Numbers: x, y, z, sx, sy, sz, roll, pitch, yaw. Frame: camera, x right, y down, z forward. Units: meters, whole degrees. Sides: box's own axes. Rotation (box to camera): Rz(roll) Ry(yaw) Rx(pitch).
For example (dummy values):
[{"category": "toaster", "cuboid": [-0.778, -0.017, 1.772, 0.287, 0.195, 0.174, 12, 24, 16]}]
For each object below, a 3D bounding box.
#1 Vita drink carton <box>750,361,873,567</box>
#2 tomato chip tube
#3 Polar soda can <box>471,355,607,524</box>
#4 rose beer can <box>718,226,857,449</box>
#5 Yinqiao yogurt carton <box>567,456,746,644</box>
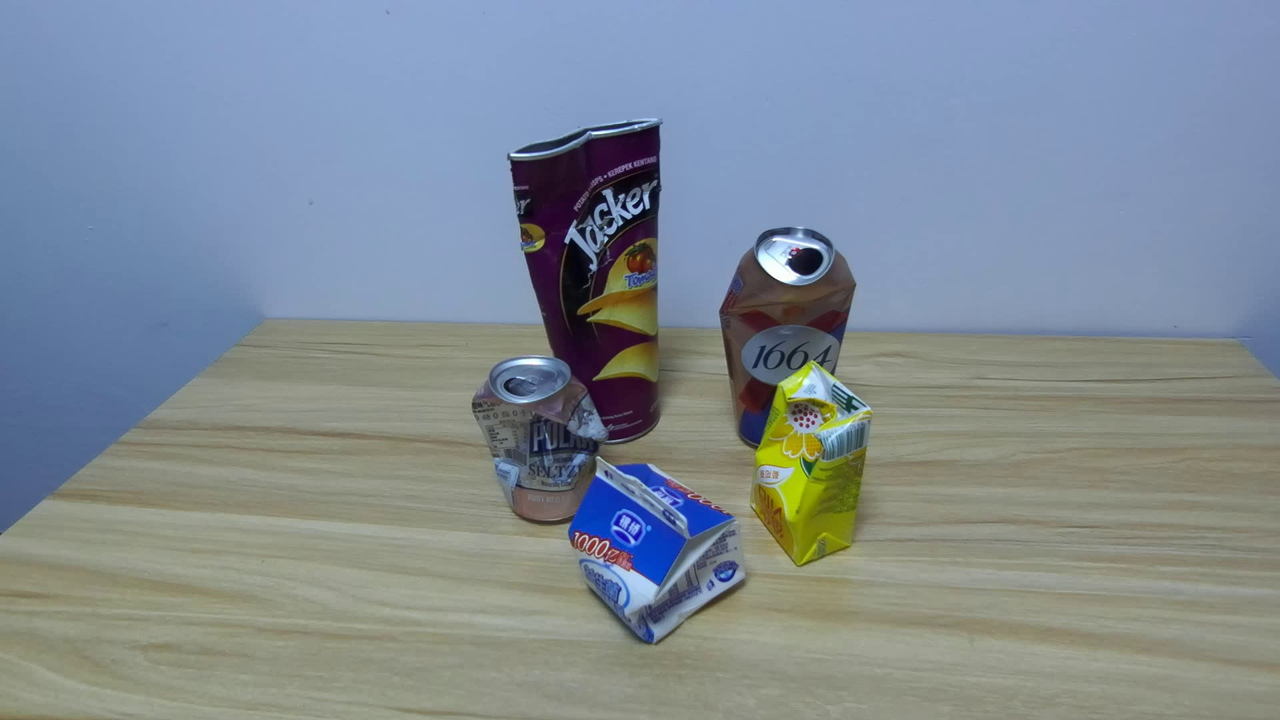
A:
[{"category": "Vita drink carton", "cuboid": [0.103, 0.065, 0.445, 0.046, 0.110, 0.071, -13, 32, -16]}, {"category": "tomato chip tube", "cuboid": [-0.030, -0.049, 0.527, 0.090, 0.236, 0.078, 3, 33, 9]}, {"category": "Polar soda can", "cuboid": [-0.065, 0.054, 0.484, 0.074, 0.114, 0.070, -24, 41, -22]}, {"category": "rose beer can", "cuboid": [0.105, -0.011, 0.509, 0.069, 0.168, 0.069, -28, 42, -30]}, {"category": "Yinqiao yogurt carton", "cuboid": [0.006, 0.104, 0.409, 0.080, 0.097, 0.074, -36, 42, -27]}]
